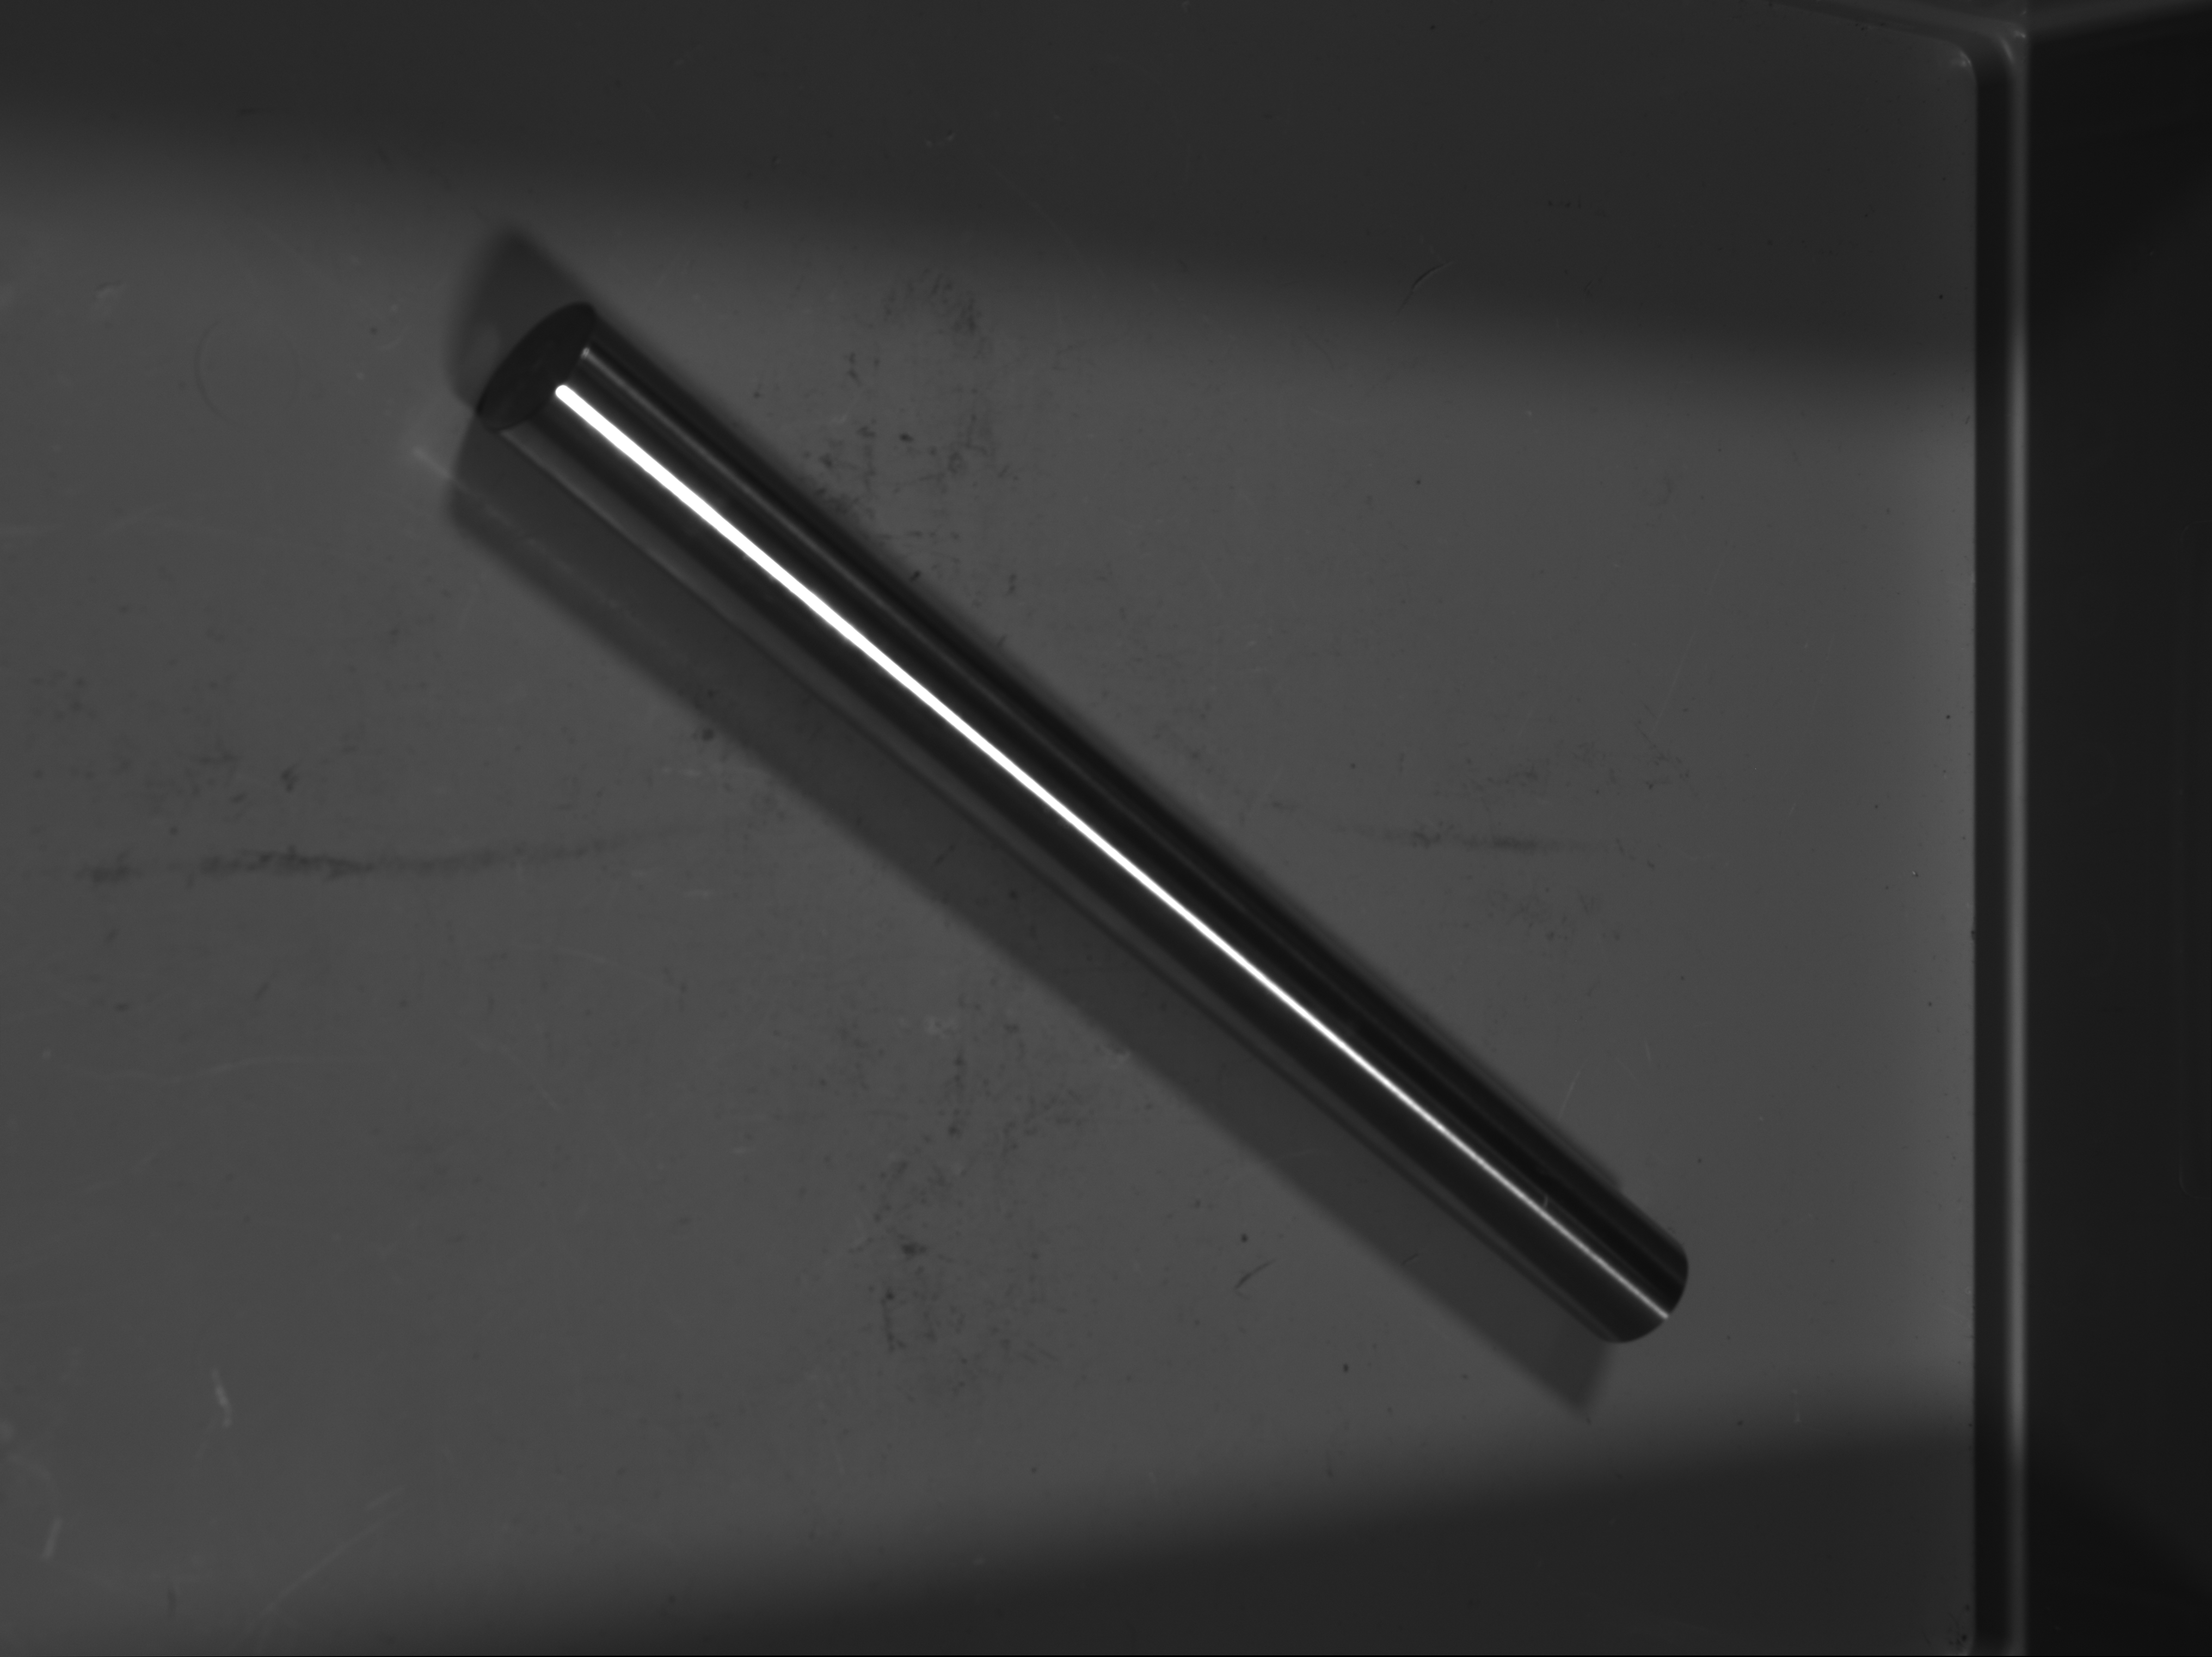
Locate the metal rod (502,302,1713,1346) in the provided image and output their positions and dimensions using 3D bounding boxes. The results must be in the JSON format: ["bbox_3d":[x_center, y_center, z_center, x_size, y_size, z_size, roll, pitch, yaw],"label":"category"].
[{"bbox_3d":[0.013,0.010,0.646,0.301,0.025,0.025,40,66,-33],"label":"metal rod"}]
